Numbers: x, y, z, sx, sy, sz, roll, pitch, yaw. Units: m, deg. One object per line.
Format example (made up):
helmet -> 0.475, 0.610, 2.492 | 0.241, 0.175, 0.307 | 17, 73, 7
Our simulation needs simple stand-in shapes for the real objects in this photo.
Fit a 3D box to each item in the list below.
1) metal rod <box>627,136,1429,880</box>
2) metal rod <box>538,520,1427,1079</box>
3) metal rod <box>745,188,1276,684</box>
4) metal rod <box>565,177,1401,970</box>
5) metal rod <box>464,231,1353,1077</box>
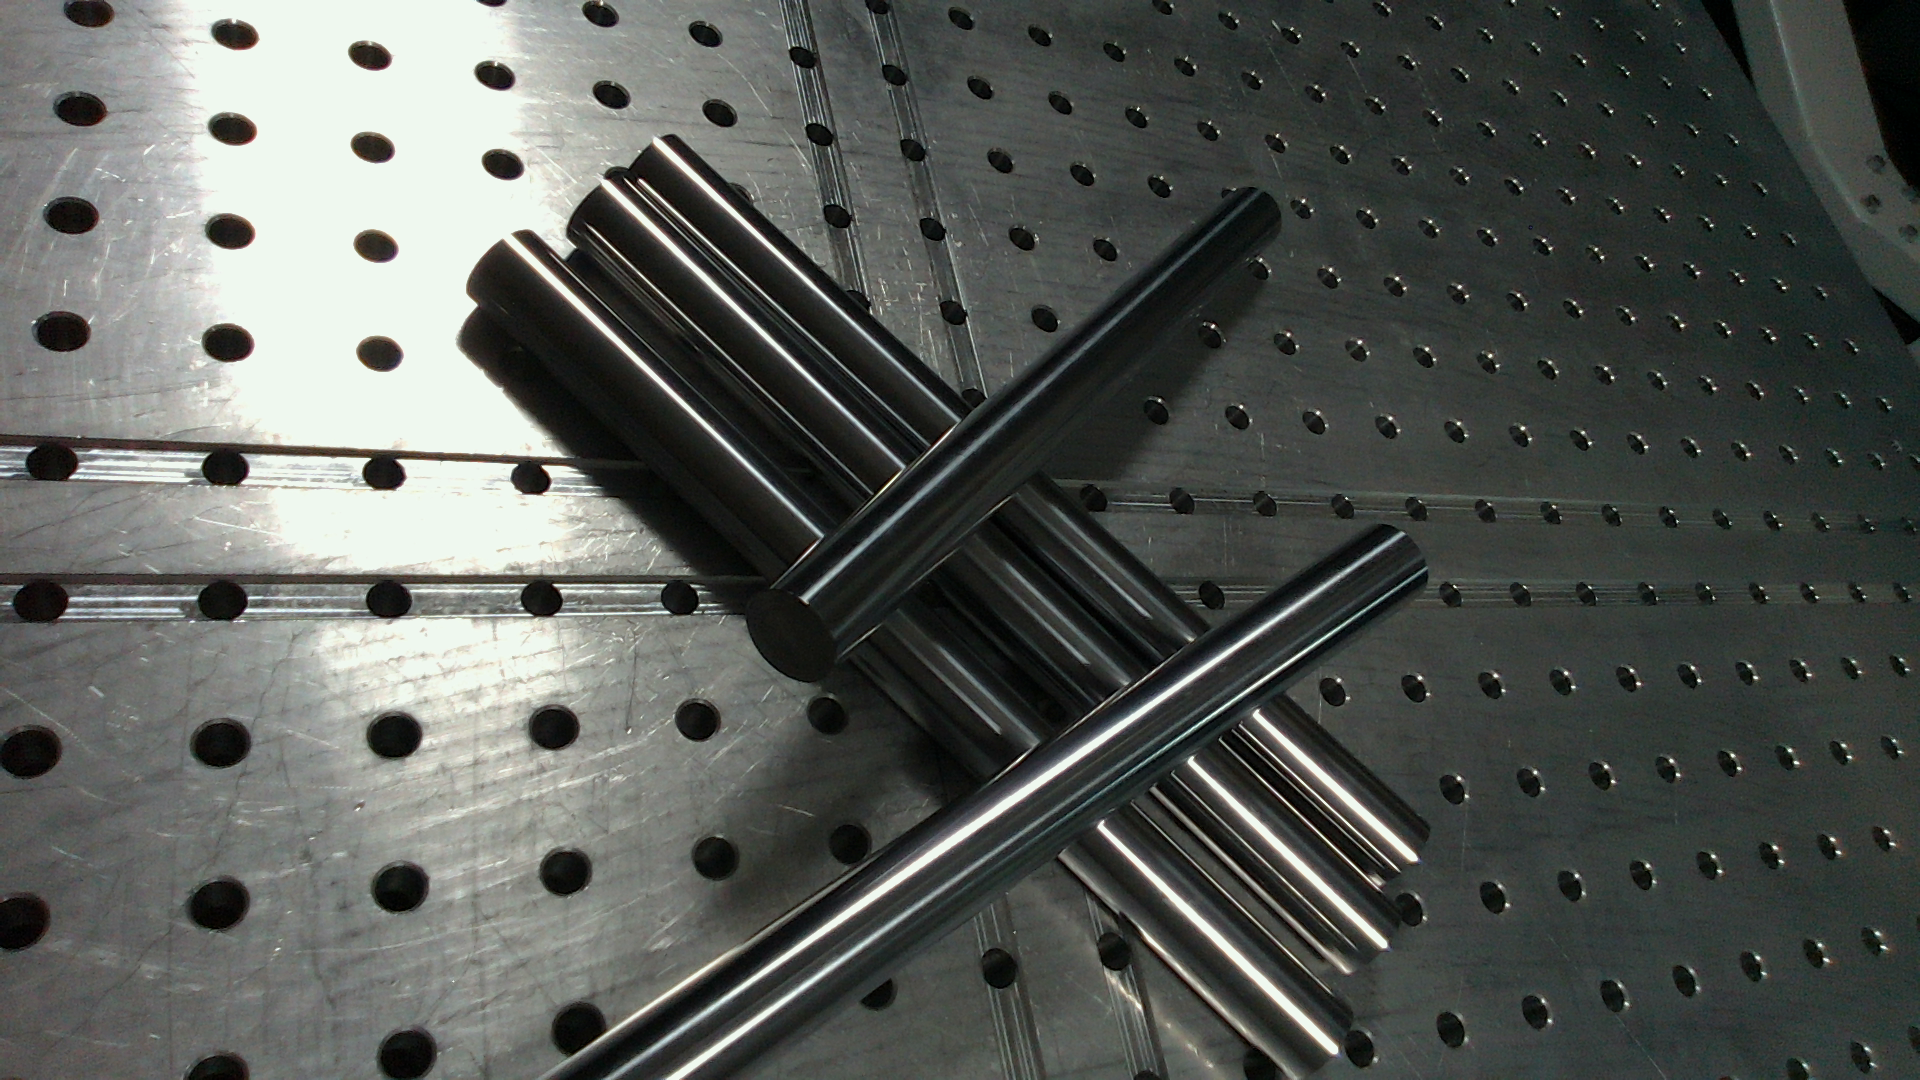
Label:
metal rod -> 0.018, -0.010, 0.408 | 0.300, 0.025, 0.025 | 42, 51, 1
metal rod -> 0.011, 0.069, 0.329 | 0.301, 0.025, 0.025 | -29, 77, -29
metal rod -> 0.036, -0.050, 0.416 | 0.025, 0.025, 0.301 | 43, 43, 2
metal rod -> 0.005, 0.008, 0.390 | 0.300, 0.025, 0.025 | 43, 51, 2
metal rod -> -0.015, 0.029, 0.367 | 0.300, 0.025, 0.025 | 43, 51, 2
